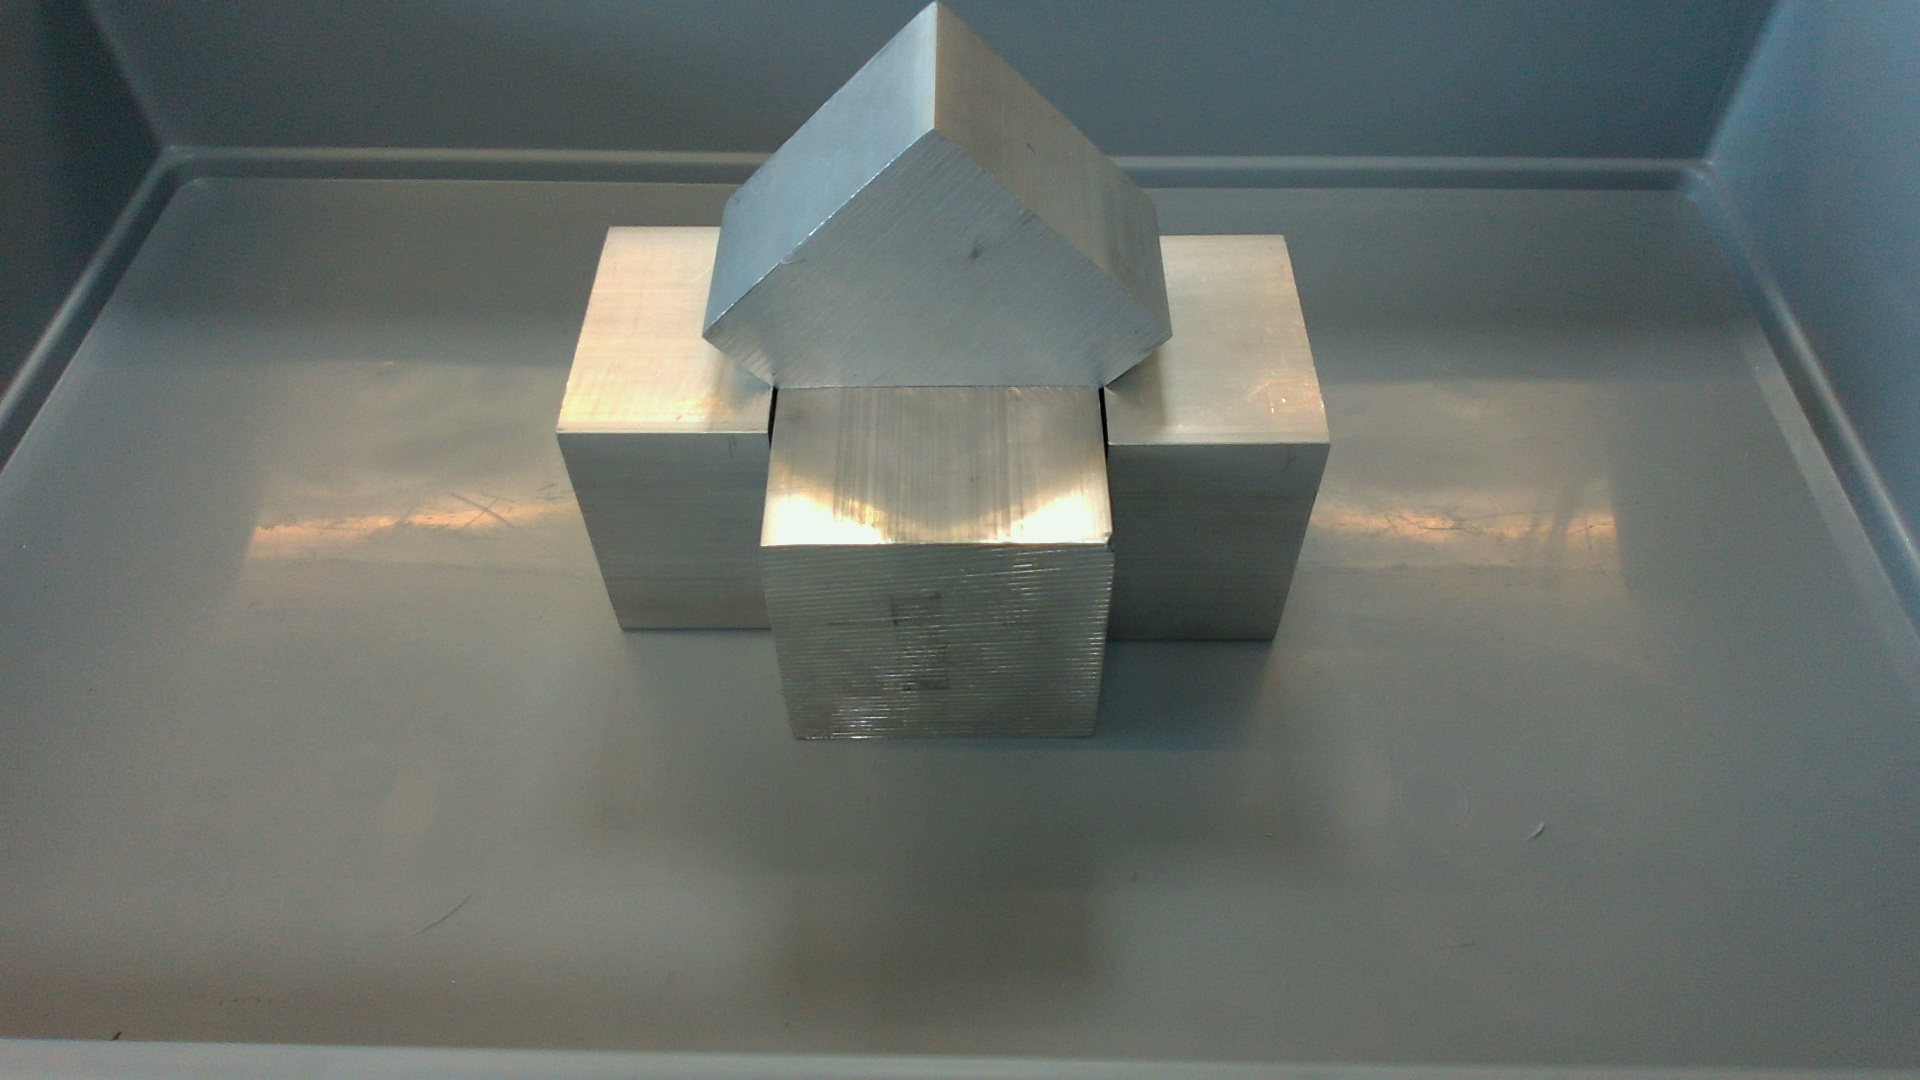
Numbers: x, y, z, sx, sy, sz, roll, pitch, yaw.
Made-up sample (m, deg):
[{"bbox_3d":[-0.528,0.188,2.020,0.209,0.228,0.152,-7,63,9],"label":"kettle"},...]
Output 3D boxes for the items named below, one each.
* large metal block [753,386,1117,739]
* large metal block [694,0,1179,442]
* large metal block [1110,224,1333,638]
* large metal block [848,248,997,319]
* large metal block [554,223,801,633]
[{"bbox_3d":[-0.005,0.008,0.348,0.080,0.080,0.050,0,50,0],"label":"large metal block"},{"bbox_3d":[-0.005,-0.067,0.337,0.080,0.080,0.050,33,40,-33],"label":"large metal block"},{"bbox_3d":[0.062,-0.029,0.377,0.050,0.080,0.080,0,50,0],"label":"large metal block"},{"bbox_3d":[-0.005,-0.070,0.413,0.080,0.080,0.050,0,50,0],"label":"large metal block"},{"bbox_3d":[-0.070,-0.030,0.381,0.050,0.080,0.080,0,50,0],"label":"large metal block"}]
